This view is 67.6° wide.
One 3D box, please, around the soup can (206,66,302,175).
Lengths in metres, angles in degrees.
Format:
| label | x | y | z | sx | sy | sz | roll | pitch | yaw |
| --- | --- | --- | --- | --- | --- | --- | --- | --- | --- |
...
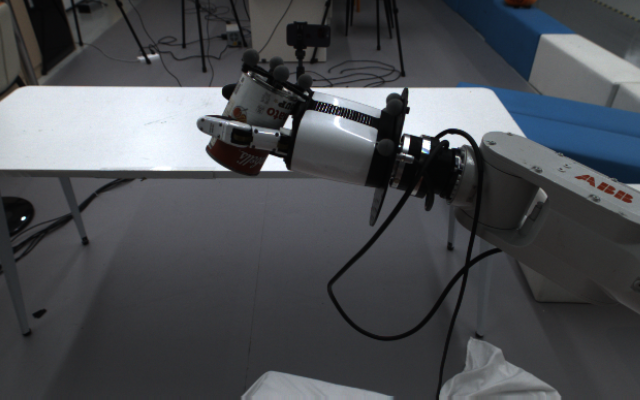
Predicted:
| label | x | y | z | sx | sy | sz | roll | pitch | yaw |
| --- | --- | --- | --- | --- | --- | --- | --- | --- | --- |
| soup can | -0.075 | -0.086 | 0.543 | 0.067 | 0.101 | 0.067 | 28 | 18 | -10 |
